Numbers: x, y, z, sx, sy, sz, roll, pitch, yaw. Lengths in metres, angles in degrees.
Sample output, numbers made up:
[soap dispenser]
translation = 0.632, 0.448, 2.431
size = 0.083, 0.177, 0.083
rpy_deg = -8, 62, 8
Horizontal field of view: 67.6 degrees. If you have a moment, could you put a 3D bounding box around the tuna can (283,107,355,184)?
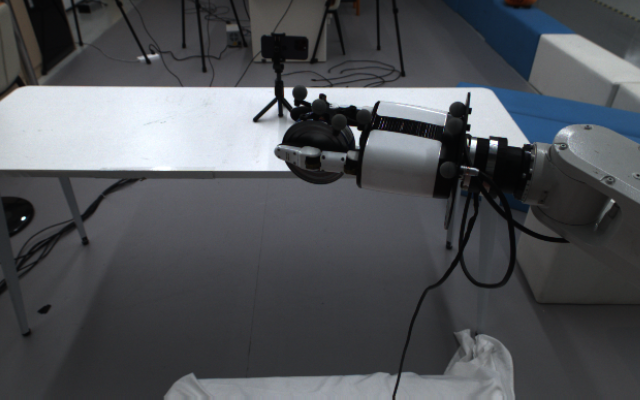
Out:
[tuna can]
translation = 0.001, -0.065, 0.591
size = 0.085, 0.085, 0.034
rpy_deg = 12, 33, 14
